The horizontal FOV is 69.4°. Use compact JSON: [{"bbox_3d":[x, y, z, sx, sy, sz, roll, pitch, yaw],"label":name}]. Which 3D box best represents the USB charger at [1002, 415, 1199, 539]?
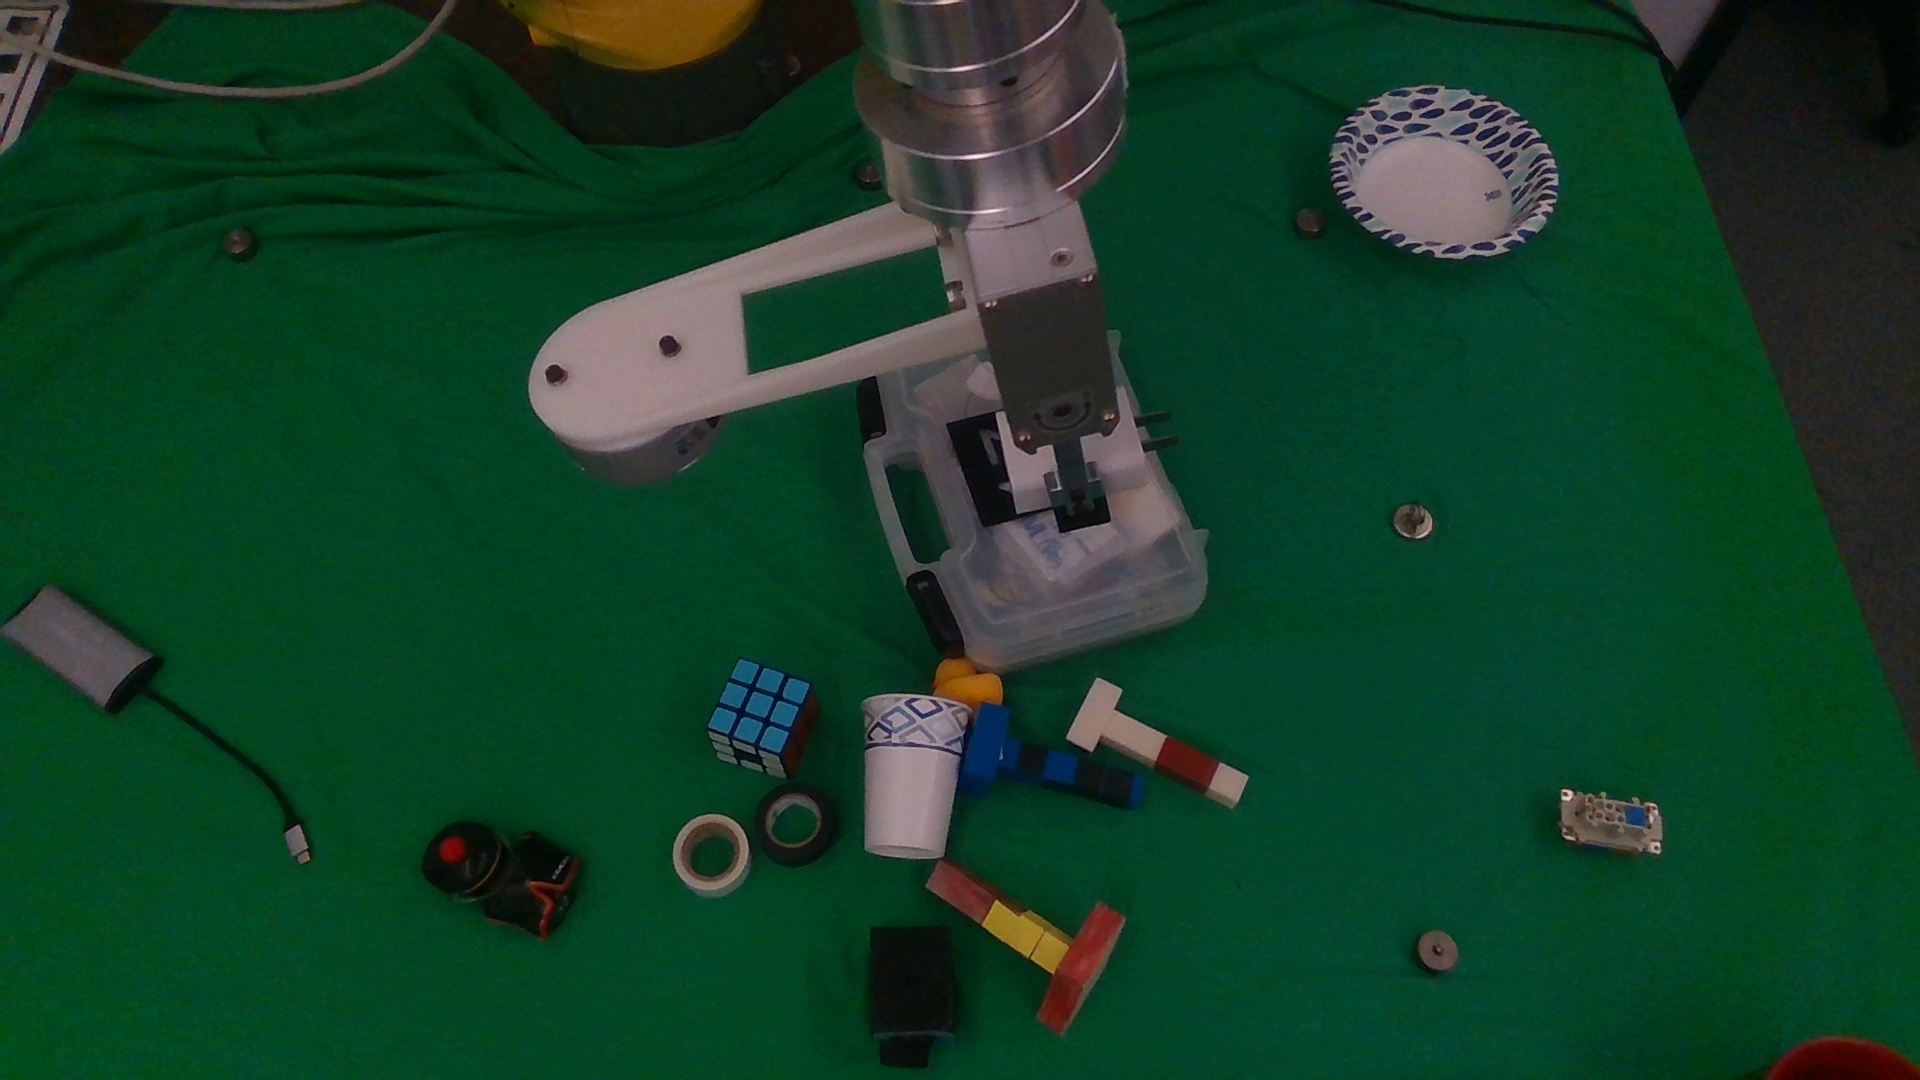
[{"bbox_3d":[0.056,-0.028,0.552,0.076,0.029,0.044,-9,64,10],"label":"USB charger"}]

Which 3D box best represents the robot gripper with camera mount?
[{"bbox_3d":[-0.040,-0.046,0.495,0.193,0.158,0.119,-12,55,2],"label":"robot gripper with camera mount"}]
